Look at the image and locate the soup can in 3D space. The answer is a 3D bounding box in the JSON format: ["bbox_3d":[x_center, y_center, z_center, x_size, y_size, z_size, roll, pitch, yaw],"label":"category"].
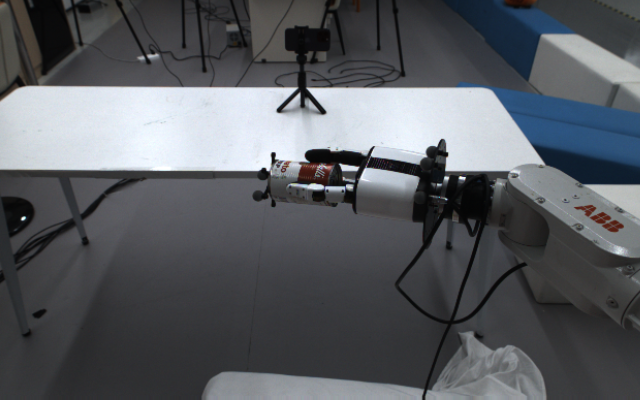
[{"bbox_3d":[-0.021,-0.026,0.759,0.101,0.067,0.067,5,34,18],"label":"soup can"}]
